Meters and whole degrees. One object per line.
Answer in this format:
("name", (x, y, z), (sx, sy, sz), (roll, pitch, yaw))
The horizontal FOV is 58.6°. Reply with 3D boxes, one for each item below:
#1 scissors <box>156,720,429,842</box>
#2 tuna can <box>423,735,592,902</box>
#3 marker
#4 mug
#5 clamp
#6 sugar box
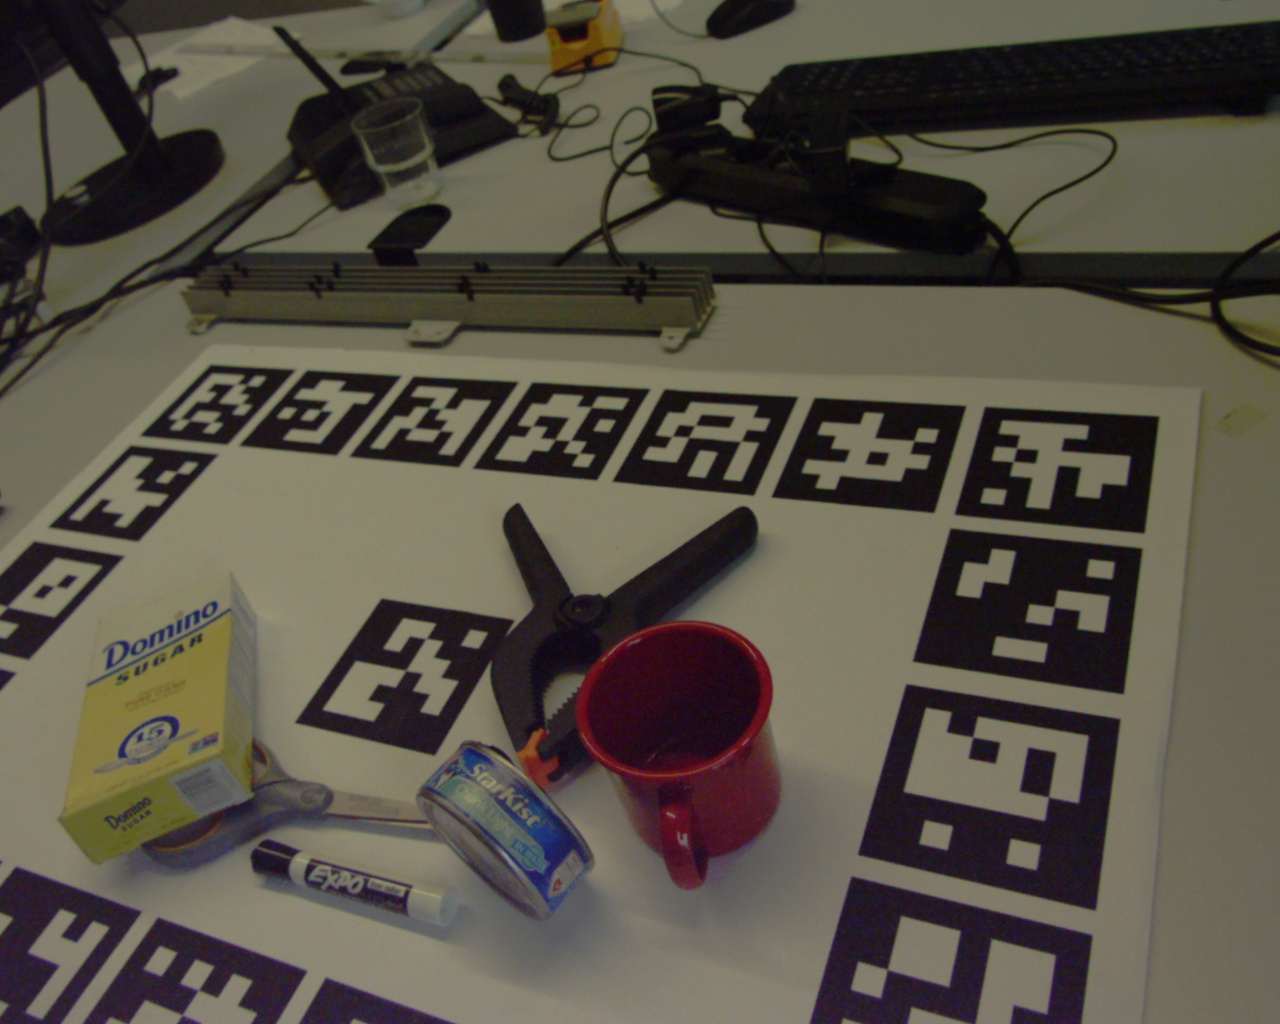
("scissors", (-0.191, 0.155, 0.658), (0.204, 0.016, 0.087), (-1, 41, 17))
("tuna can", (-0.067, 0.153, 0.569), (0.087, 0.085, 0.033), (22, 55, 36))
("marker", (-0.164, 0.191, 0.614), (0.122, 0.019, 0.019), (3, 47, 23))
("mug", (0.007, 0.125, 0.579), (0.093, 0.081, 0.118), (-14, 39, 5))
("clamp", (-0.036, 0.074, 0.694), (0.167, 0.036, 0.203), (-2, 46, 18))
("sugar box", (-0.284, 0.118, 0.708), (0.093, 0.045, 0.178), (-20, 36, -2))
